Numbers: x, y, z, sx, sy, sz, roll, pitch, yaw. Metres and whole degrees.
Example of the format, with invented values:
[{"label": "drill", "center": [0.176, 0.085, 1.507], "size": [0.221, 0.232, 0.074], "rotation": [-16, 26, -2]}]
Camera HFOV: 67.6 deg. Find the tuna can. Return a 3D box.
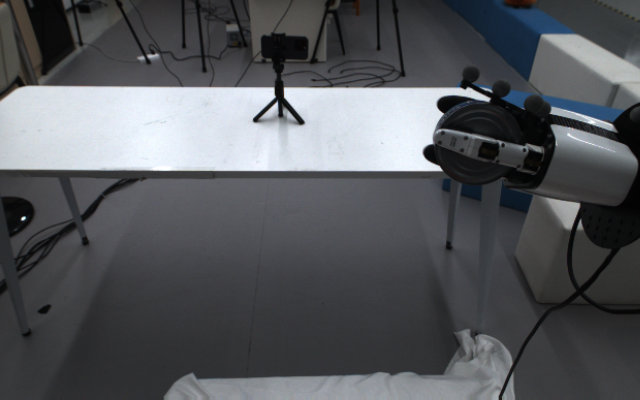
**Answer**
[{"label": "tuna can", "center": [0.165, -0.062, 0.510], "size": [0.085, 0.085, 0.034], "rotation": [7, 16, 6]}]
